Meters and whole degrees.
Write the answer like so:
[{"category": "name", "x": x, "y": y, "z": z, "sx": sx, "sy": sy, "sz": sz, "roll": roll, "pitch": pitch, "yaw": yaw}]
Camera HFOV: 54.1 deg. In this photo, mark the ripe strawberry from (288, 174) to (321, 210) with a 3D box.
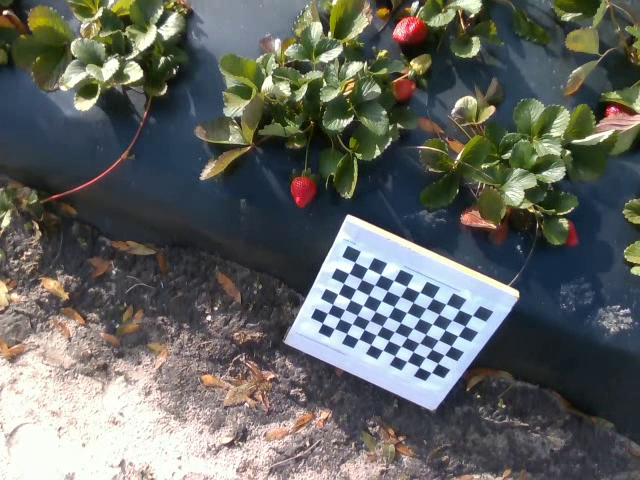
[{"category": "ripe strawberry", "x": -0.022, "y": -0.060, "z": 0.780, "sx": 0.041, "sy": 0.047, "sz": 0.041, "roll": 4, "pitch": -28, "yaw": 22}]
